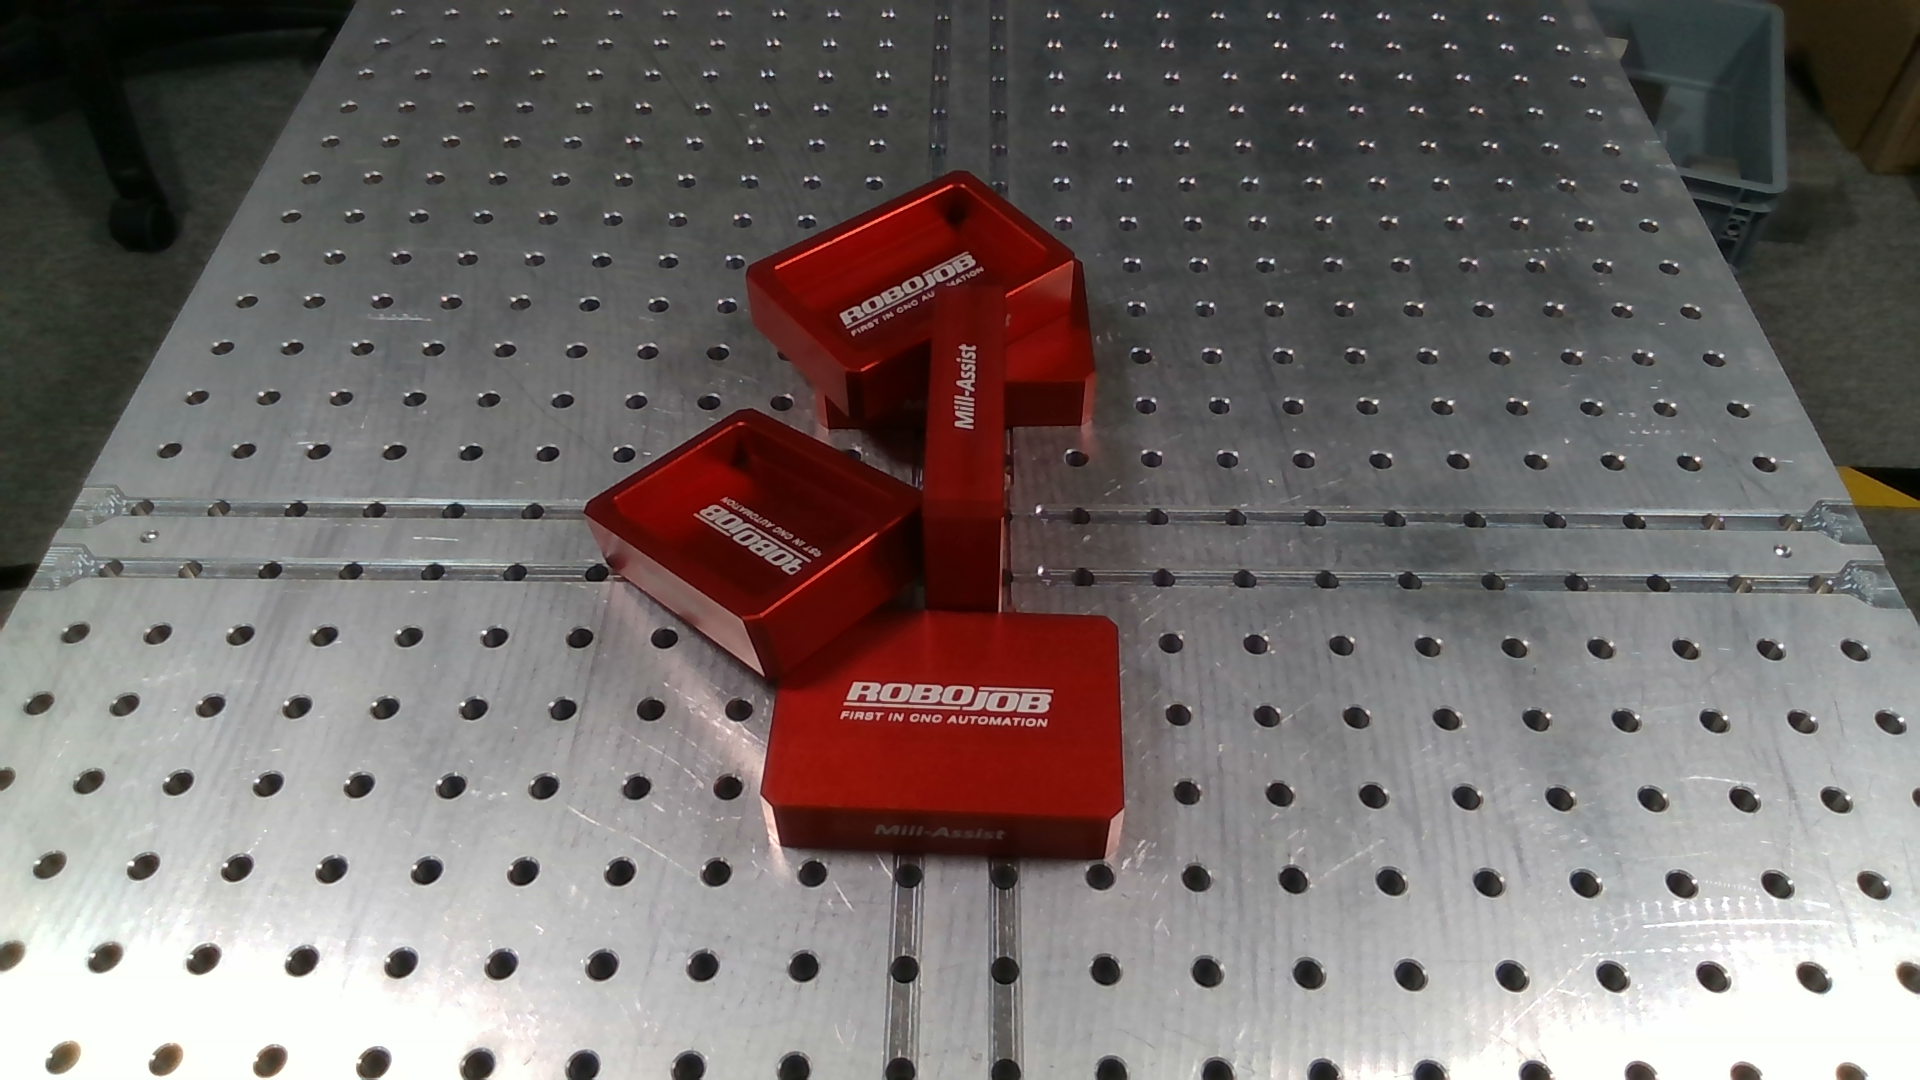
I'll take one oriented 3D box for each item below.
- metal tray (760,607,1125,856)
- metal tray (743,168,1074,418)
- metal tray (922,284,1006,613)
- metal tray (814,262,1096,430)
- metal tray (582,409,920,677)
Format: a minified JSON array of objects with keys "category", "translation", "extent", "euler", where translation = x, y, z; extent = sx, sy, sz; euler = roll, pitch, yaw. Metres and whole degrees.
[{"category":"metal tray","translation":[-0.005,0.071,0.526],"extent":[0.130,0.030,0.090],"euler":[2,50,2]},{"category":"metal tray","translation":[-0.023,-0.119,0.645],"extent":[0.130,0.030,0.090],"euler":[-31,57,-23]},{"category":"metal tray","translation":[0.003,-0.032,0.573],"extent":[0.030,0.090,0.130],"euler":[1,50,1]},{"category":"metal tray","translation":[-0.003,-0.097,0.668],"extent":[0.130,0.030,0.090],"euler":[-1,50,0]},{"category":"metal tray","translation":[-0.084,-0.004,0.566],"extent":[0.090,0.030,0.130],"euler":[-37,42,-26]}]
